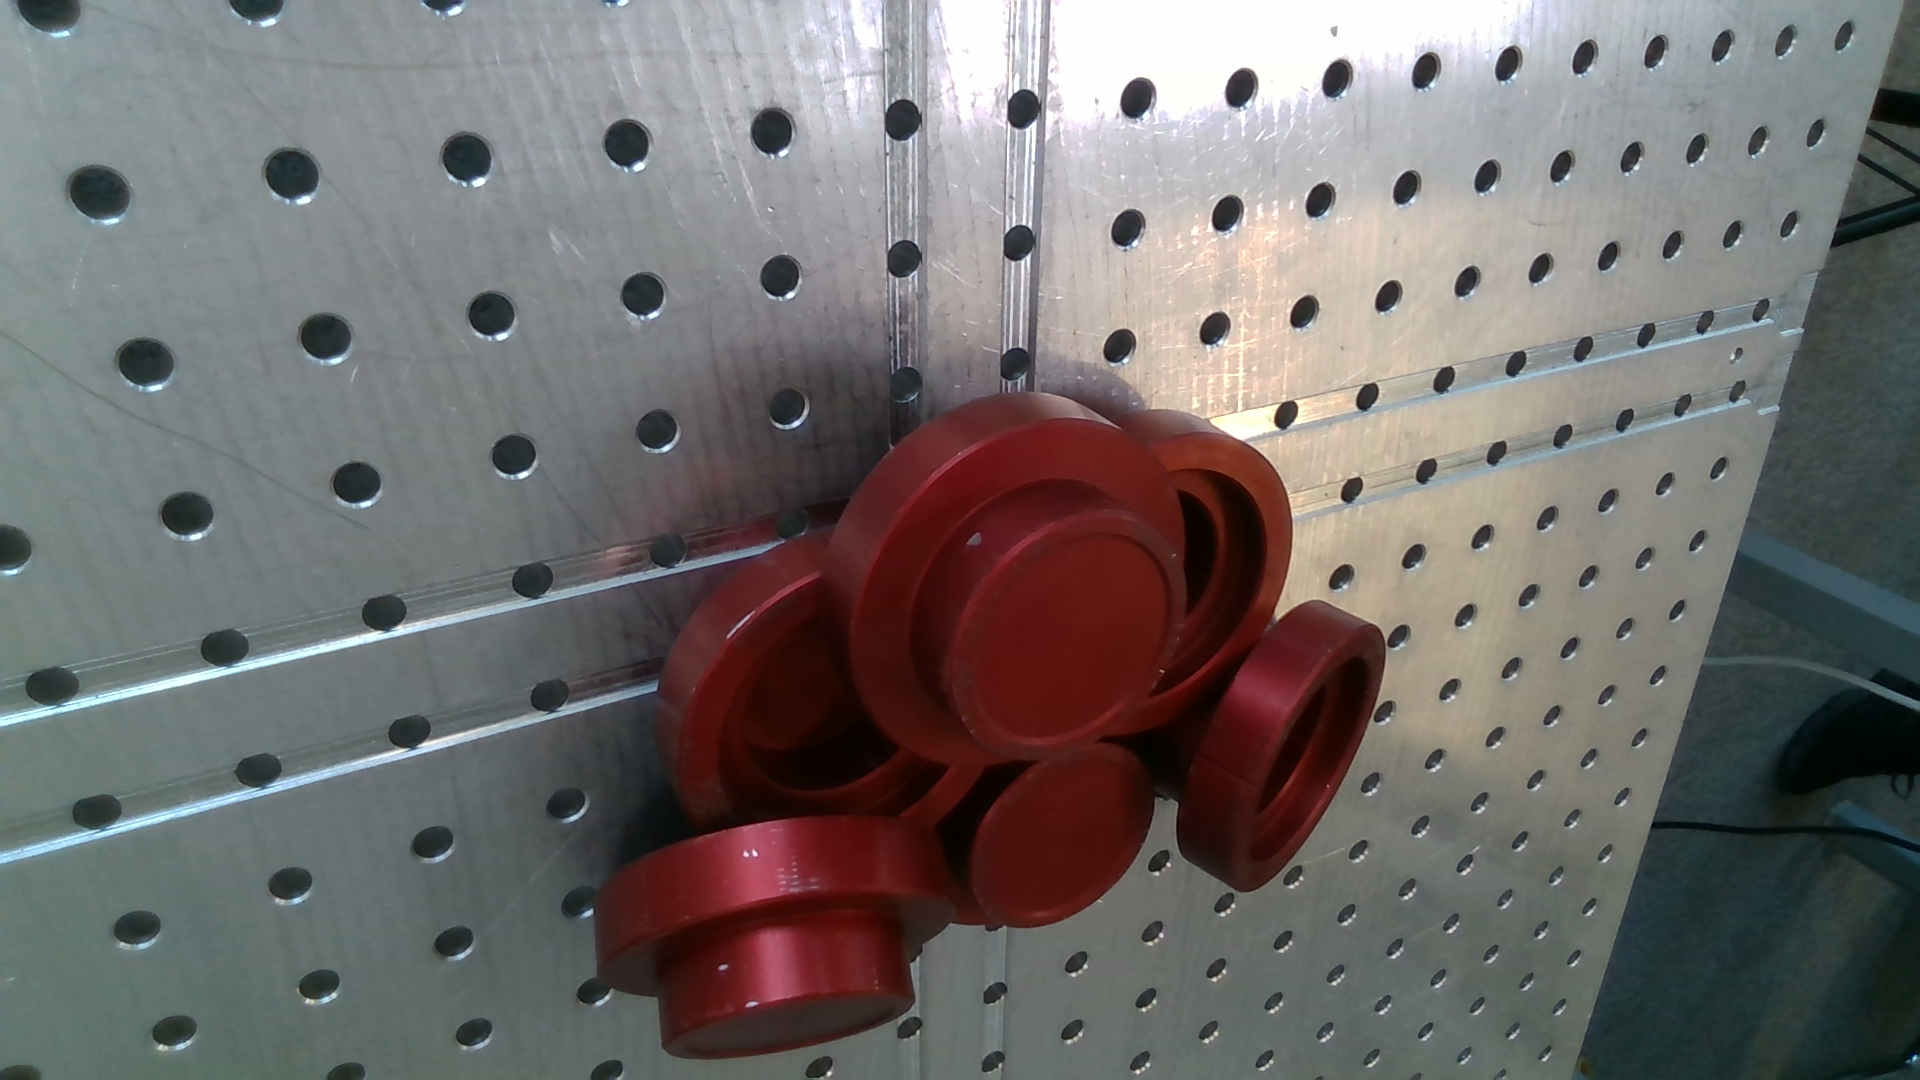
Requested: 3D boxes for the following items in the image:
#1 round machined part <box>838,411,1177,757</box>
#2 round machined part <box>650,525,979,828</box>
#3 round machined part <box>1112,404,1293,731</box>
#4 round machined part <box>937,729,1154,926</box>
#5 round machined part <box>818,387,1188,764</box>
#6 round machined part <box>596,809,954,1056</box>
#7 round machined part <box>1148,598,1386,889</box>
[{"bbox_3d":[0.010,0.009,0.391,0.098,0.042,0.098,-14,122,-25],"label":"round machined part"},{"bbox_3d":[-0.038,0.040,0.379,0.098,0.042,0.098,-14,122,-25],"label":"round machined part"},{"bbox_3d":[0.048,0.005,0.414,0.098,0.042,0.098,-14,122,-25],"label":"round machined part"},{"bbox_3d":[0.022,0.082,0.439,0.098,0.042,0.098,-14,122,-25],"label":"round machined part"},{"bbox_3d":[0.018,0.015,0.345,0.098,0.042,0.098,-14,122,-25],"label":"round machined part"},{"bbox_3d":[-0.049,0.112,0.380,0.098,0.042,0.098,-10,151,-6],"label":"round machined part"},{"bbox_3d":[0.099,0.063,0.462,0.098,0.042,0.098,-35,140,-37],"label":"round machined part"}]
